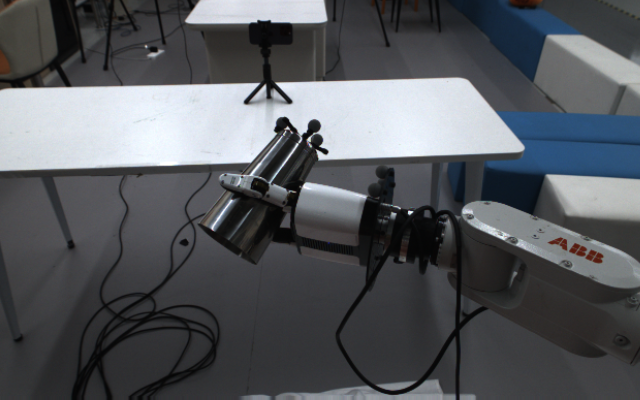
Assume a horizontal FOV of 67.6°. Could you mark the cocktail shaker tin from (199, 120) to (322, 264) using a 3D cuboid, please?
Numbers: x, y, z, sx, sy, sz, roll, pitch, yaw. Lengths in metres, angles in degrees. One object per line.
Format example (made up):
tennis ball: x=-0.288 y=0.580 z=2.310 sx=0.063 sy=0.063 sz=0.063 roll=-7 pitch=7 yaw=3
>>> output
cocktail shaker tin: x=-0.077 y=-0.011 z=0.650 sx=0.093 sy=0.093 sz=0.170 roll=24 pitch=70 yaw=28
